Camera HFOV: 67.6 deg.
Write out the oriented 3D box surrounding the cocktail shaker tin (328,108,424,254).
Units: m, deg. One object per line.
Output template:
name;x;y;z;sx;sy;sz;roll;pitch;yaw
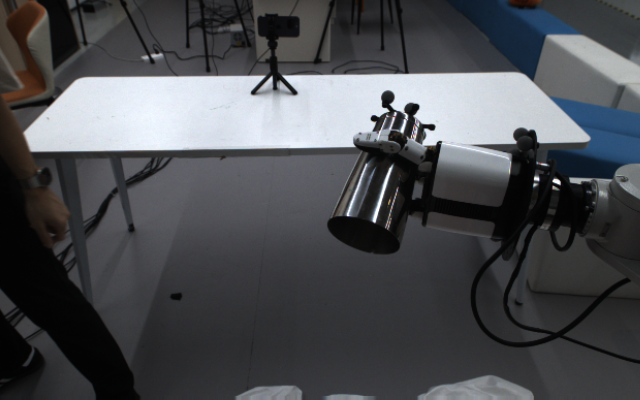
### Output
cocktail shaker tin;0.080;-0.028;0.613;0.093;0.093;0.170;14;63;17
